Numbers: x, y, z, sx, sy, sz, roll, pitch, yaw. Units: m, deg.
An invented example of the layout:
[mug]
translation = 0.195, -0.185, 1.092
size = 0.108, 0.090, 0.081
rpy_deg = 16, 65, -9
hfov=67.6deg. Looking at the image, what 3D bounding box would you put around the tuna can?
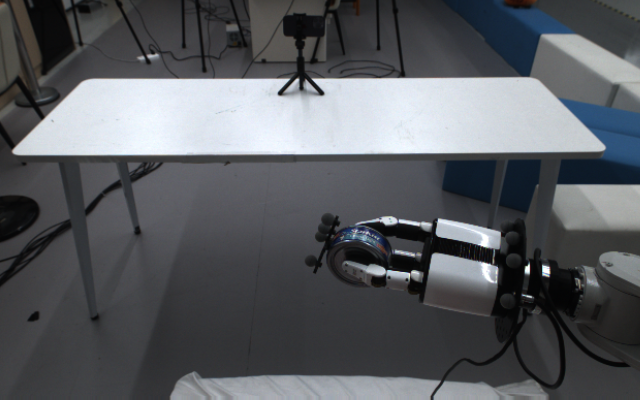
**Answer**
[tuna can]
translation = 0.055, 0.076, 0.654
size = 0.085, 0.085, 0.034
rpy_deg = 9, 35, 10
